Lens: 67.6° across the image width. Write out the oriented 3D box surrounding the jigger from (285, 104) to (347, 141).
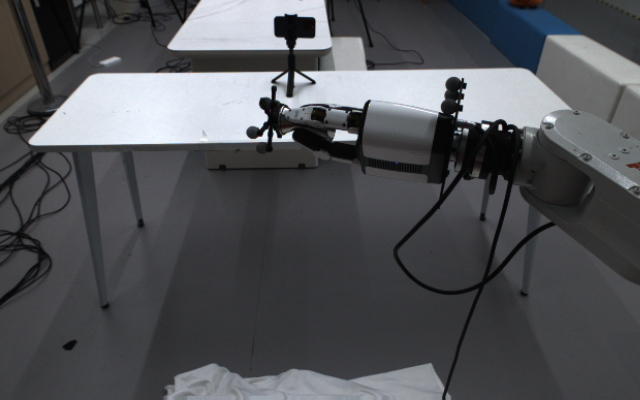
[{"bbox_3d":[-0.011,-0.106,0.636,0.071,0.043,0.043,8,35,16],"label":"jigger"}]
